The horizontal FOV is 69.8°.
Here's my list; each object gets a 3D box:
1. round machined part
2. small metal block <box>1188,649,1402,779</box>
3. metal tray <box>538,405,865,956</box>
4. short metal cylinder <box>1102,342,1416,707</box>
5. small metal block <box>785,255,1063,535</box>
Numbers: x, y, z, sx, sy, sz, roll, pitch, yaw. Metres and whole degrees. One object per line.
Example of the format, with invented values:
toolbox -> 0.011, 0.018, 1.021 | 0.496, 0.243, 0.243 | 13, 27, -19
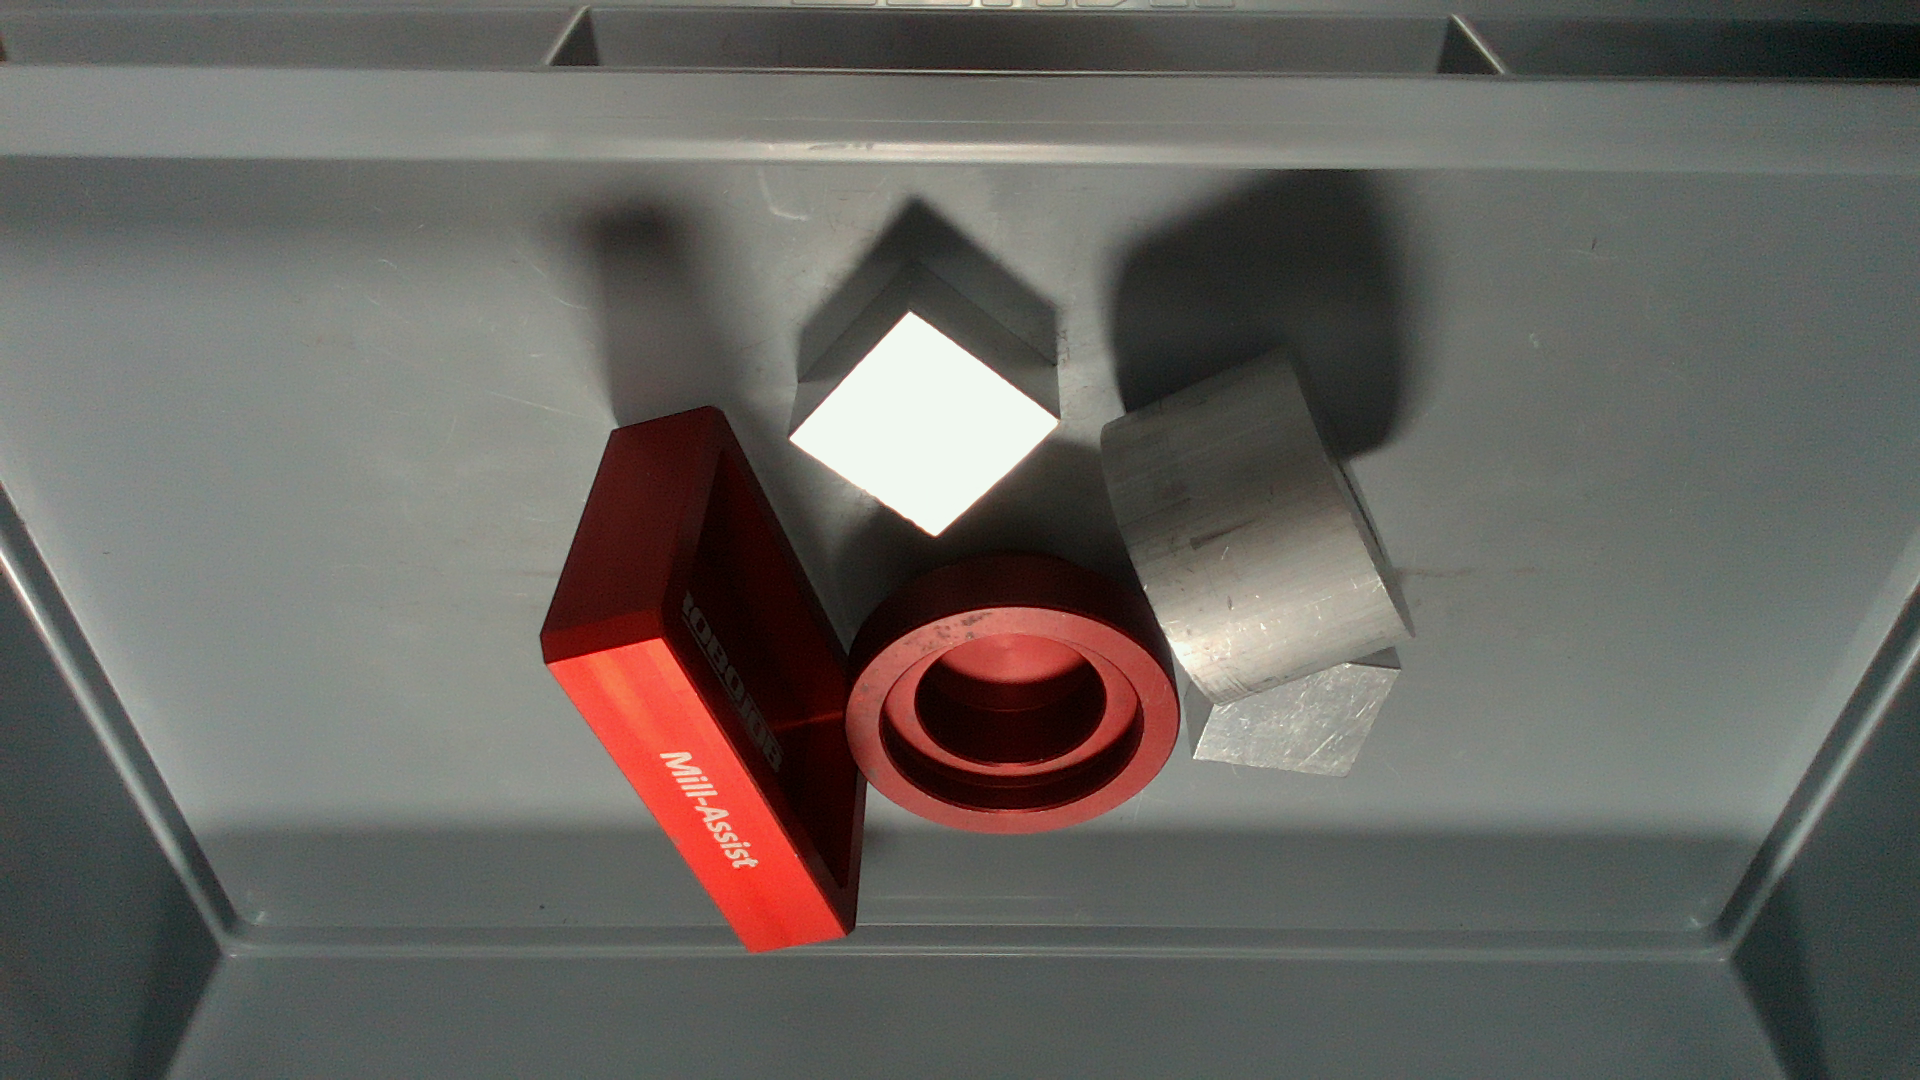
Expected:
round machined part -> 0.015, 0.042, 0.411 | 0.098, 0.042, 0.098 | 0, 130, 0
small metal block -> 0.102, 0.045, 0.428 | 0.050, 0.025, 0.050 | 8, 129, -5
metal tray -> -0.063, 0.040, 0.380 | 0.030, 0.090, 0.130 | -13, 129, 11
short metal cylinder -> 0.076, -0.003, 0.351 | 0.050, 0.080, 0.080 | -23, 126, 18
small metal block -> -0.009, -0.036, 0.358 | 0.050, 0.025, 0.050 | 34, 123, -24
